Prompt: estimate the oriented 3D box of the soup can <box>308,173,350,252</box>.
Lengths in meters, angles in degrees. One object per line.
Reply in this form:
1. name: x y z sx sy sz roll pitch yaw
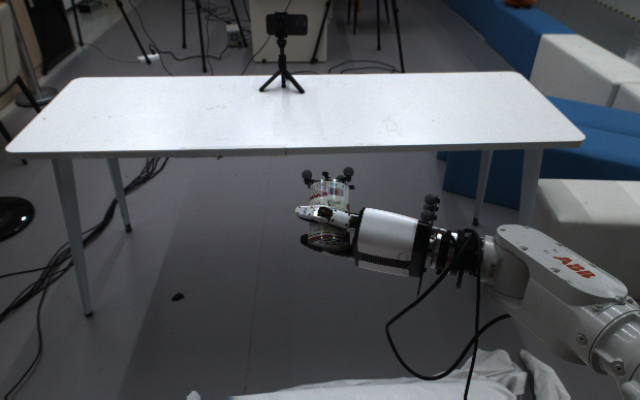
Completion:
1. soup can: 0.015 0.025 0.776 0.067 0.067 0.101 2 68 -1
